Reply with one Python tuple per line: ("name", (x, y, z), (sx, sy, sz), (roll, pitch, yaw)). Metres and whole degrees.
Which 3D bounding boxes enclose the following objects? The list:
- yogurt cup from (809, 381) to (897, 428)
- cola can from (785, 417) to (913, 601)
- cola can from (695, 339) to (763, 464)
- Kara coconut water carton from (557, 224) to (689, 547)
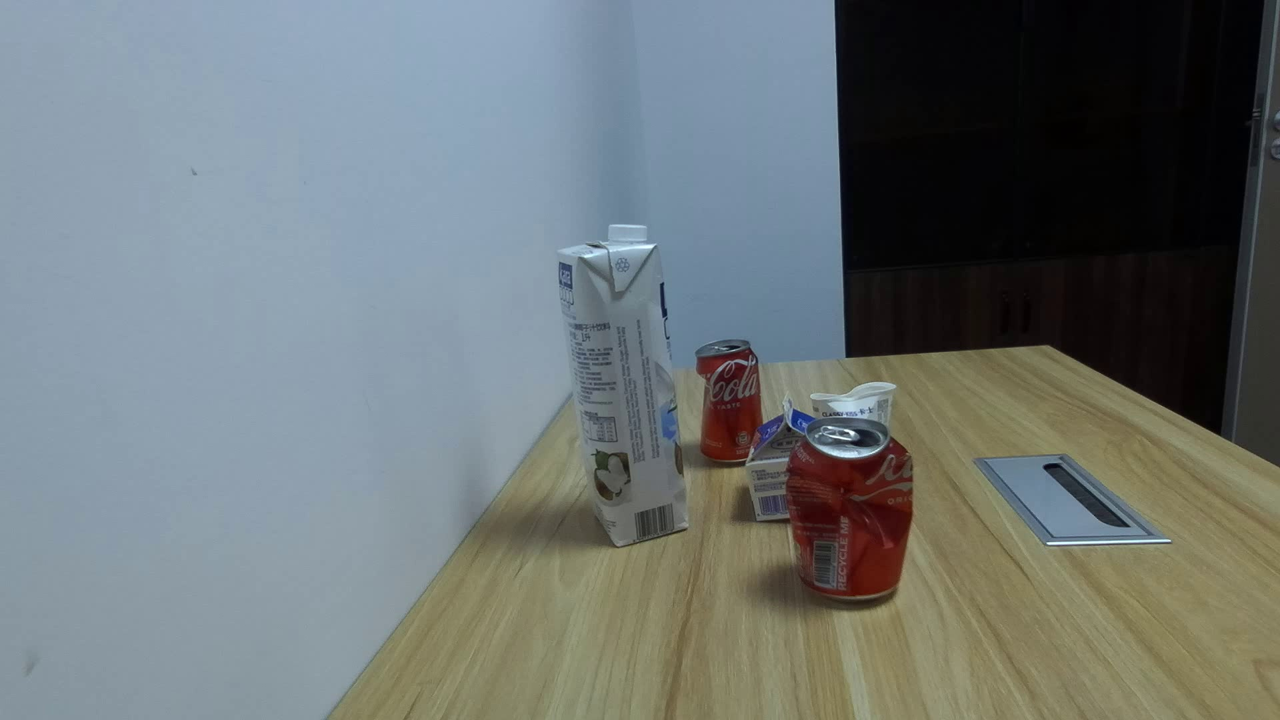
("yogurt cup", (0.204, 0.060, 0.673), (0.076, 0.071, 0.053), (-16, 18, -35))
("cola can", (0.133, 0.096, 0.459), (0.066, 0.112, 0.069), (-19, 20, -40))
("cola can", (0.091, 0.041, 0.706), (0.065, 0.117, 0.072), (-2, 14, 8))
("Kara coconut water carton", (-0.011, 0.018, 0.560), (0.075, 0.245, 0.077), (-11, 16, -12))
